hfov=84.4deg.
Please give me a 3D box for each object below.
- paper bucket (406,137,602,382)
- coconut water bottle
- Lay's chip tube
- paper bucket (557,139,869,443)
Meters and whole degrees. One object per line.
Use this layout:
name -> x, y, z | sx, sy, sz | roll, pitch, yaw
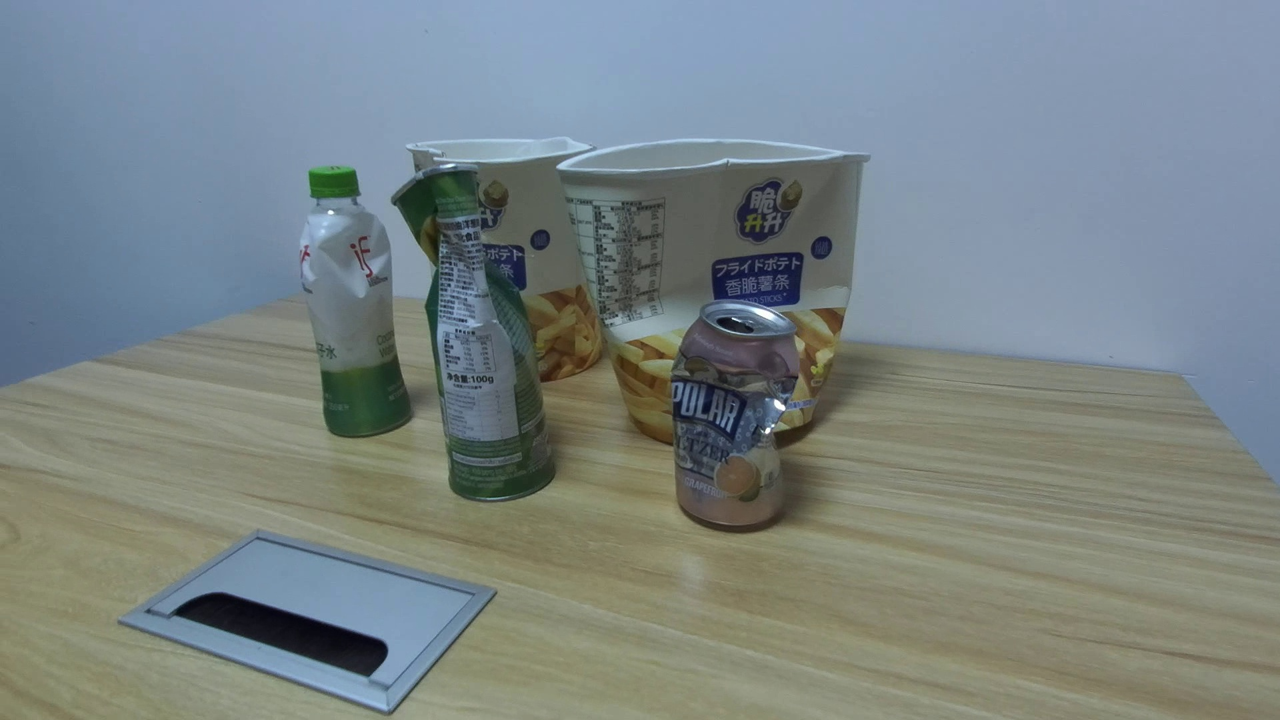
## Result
paper bucket -> -0.109, -0.095, 0.634 | 0.146, 0.197, 0.202 | -11, 23, -22
coconut water bottle -> -0.209, -0.041, 0.512 | 0.067, 0.187, 0.067 | 0, 20, 0
Lay's chip tube -> -0.102, -0.016, 0.433 | 0.071, 0.199, 0.079 | -4, 19, 12
paper bucket -> 0.063, -0.054, 0.516 | 0.147, 0.199, 0.219 | 14, 26, 32
